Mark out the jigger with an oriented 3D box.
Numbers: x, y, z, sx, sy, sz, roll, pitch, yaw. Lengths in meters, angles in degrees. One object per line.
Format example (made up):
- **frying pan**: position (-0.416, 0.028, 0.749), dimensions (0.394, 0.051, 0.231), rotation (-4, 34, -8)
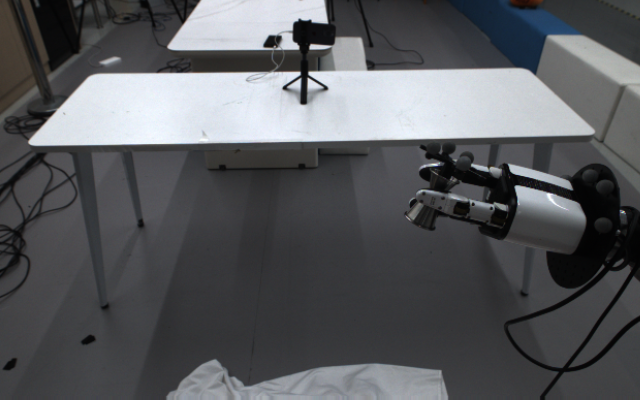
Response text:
- **jigger**: position (0.139, -0.002, 0.606), dimensions (0.043, 0.071, 0.043), rotation (23, 19, -8)
